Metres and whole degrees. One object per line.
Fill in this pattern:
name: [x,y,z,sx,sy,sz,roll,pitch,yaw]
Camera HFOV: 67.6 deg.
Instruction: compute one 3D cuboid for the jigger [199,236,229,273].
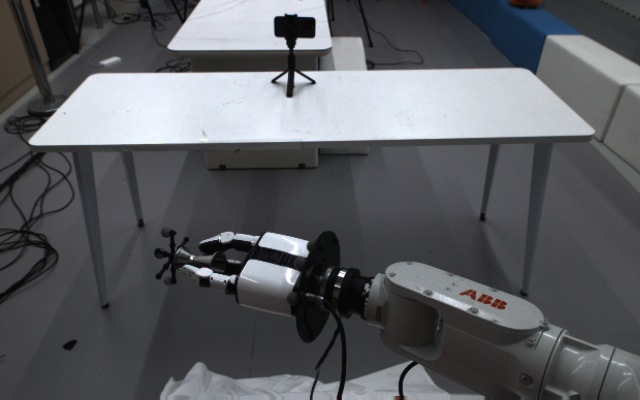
jigger: [-0.180,0.094,0.751,0.071,0.043,0.043,6,34,20]
